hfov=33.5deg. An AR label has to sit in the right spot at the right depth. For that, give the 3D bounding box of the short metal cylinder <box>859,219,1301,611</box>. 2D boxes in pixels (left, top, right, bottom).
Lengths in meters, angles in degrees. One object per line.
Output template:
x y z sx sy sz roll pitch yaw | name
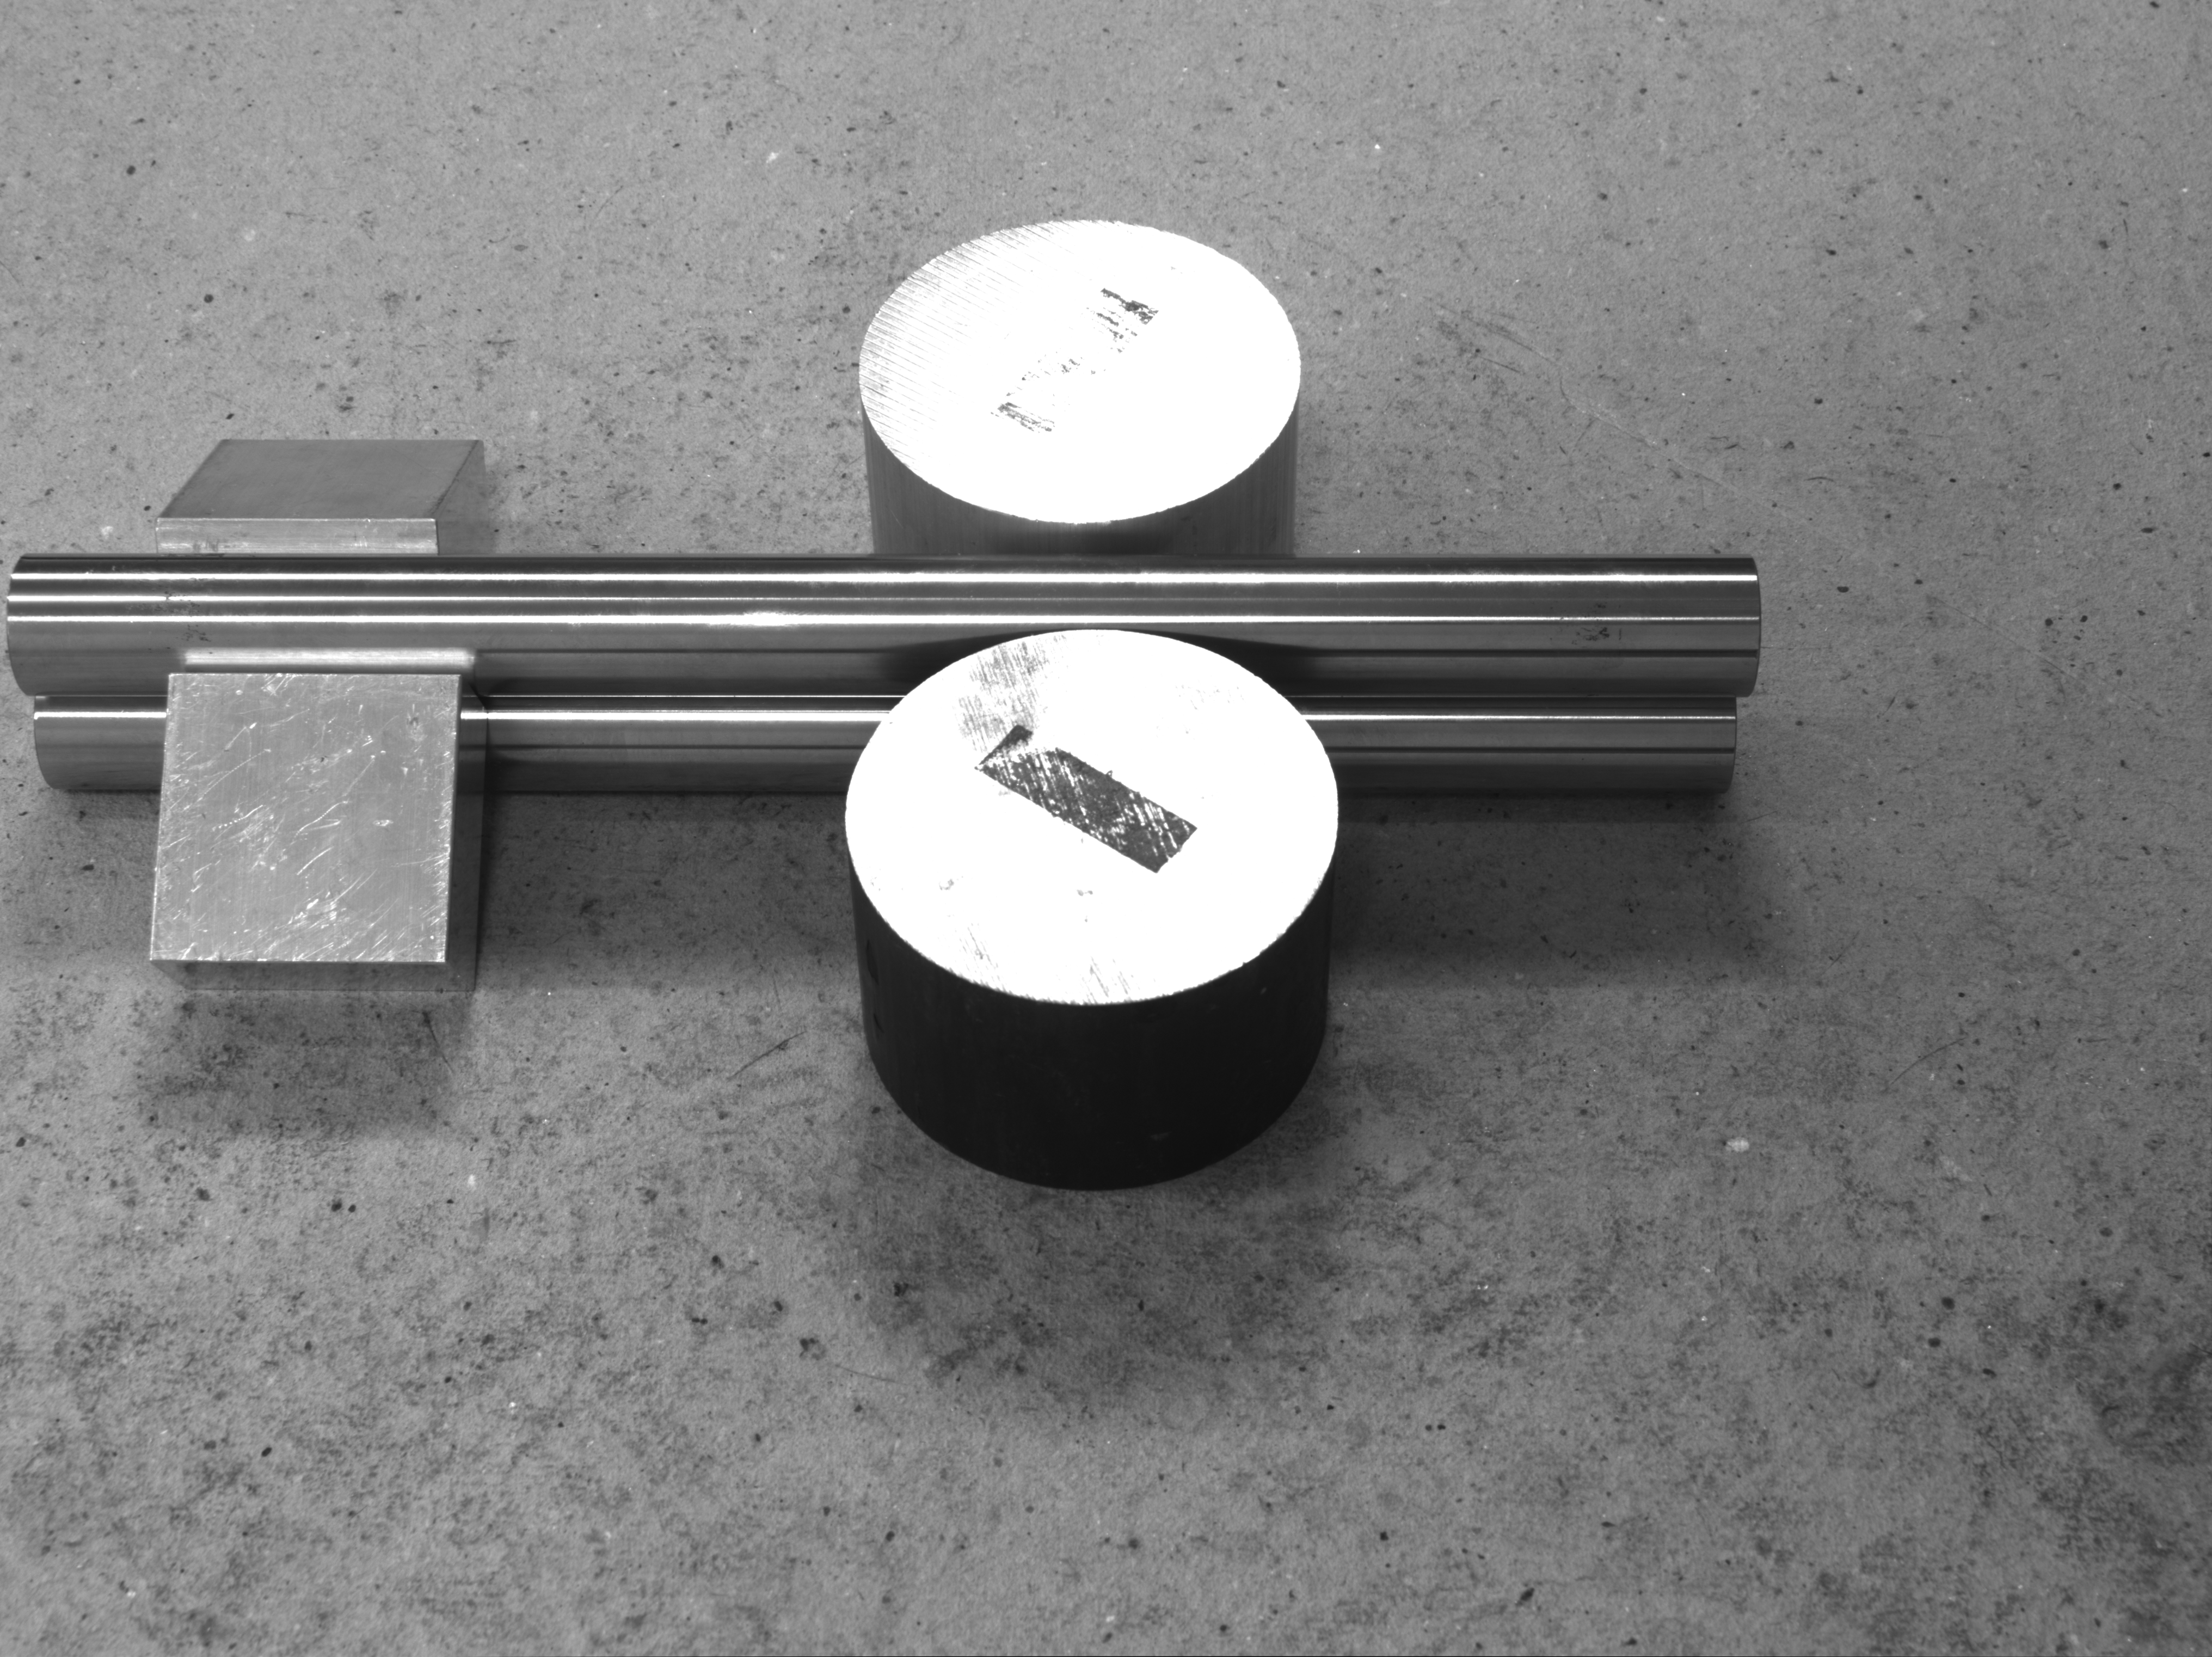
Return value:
-0.005 -0.068 0.684 0.080 0.050 0.080 0 50 0 | short metal cylinder

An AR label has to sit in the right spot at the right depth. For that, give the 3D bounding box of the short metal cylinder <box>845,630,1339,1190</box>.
-0.002 0.013 0.615 0.080 0.050 0.080 0 50 0 | short metal cylinder

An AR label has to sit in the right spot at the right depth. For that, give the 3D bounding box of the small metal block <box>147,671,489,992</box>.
-0.134 0.001 0.629 0.050 0.025 0.050 1 76 0 | small metal block

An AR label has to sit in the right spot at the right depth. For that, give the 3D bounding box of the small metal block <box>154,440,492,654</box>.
-0.142 -0.052 0.675 0.050 0.025 0.050 0 23 1 | small metal block

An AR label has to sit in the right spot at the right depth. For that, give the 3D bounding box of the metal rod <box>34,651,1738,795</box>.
-0.039 -0.019 0.659 0.300 0.025 0.025 0 50 0 | metal rod

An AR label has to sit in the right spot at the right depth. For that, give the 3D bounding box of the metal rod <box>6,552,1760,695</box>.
-0.038 -0.036 0.641 0.300 0.025 0.025 0 50 0 | metal rod
